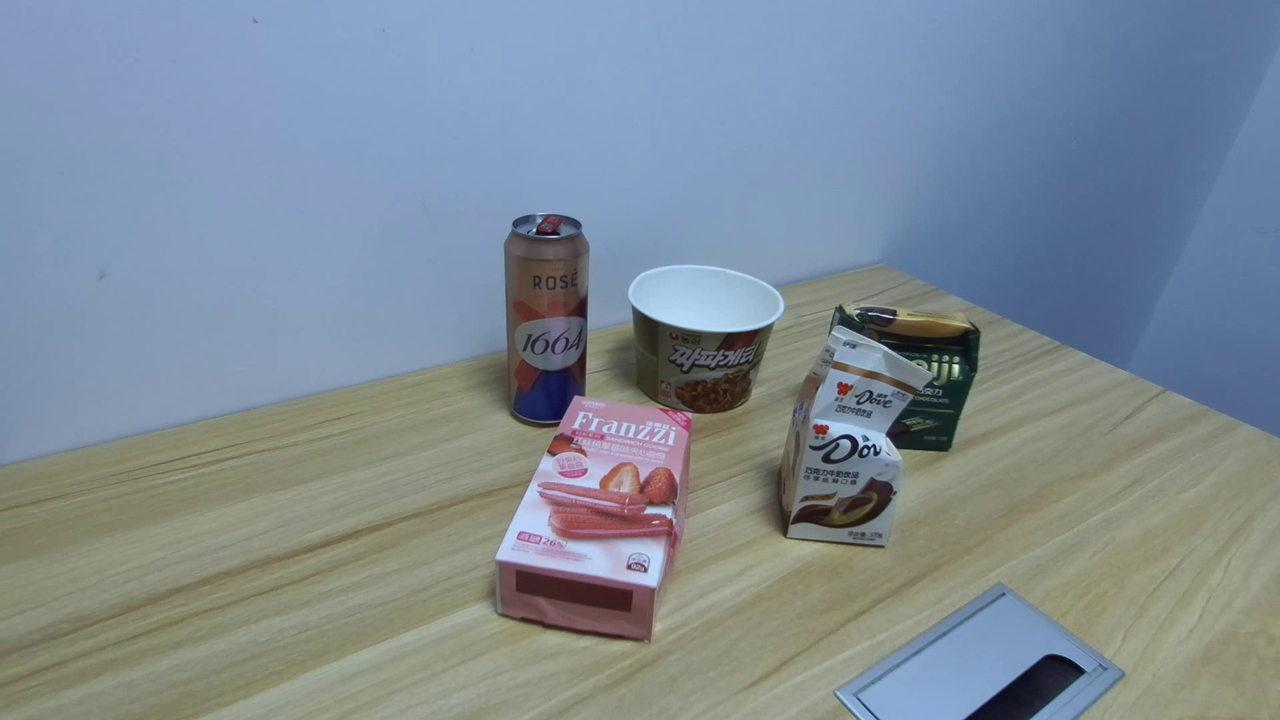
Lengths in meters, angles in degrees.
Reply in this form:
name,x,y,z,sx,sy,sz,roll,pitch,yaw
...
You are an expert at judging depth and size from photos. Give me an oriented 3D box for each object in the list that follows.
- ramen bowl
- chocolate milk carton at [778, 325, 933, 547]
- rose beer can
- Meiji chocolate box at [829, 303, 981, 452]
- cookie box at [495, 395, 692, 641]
name,x,y,z,sx,sy,sz,roll,pitch,yaw
ramen bowl,0.057,-0.018,0.654,0.140,0.095,0.140,3,30,-1
chocolate milk carton,0.145,0.046,0.486,0.076,0.155,0.073,6,33,2
rose beer can,-0.077,-0.030,0.585,0.069,0.169,0.068,4,29,-2
Meiji chocolate box,0.219,0.014,0.604,0.117,0.117,0.051,4,21,-2
cookie box,-0.019,0.098,0.487,0.105,0.049,0.187,8,31,7
